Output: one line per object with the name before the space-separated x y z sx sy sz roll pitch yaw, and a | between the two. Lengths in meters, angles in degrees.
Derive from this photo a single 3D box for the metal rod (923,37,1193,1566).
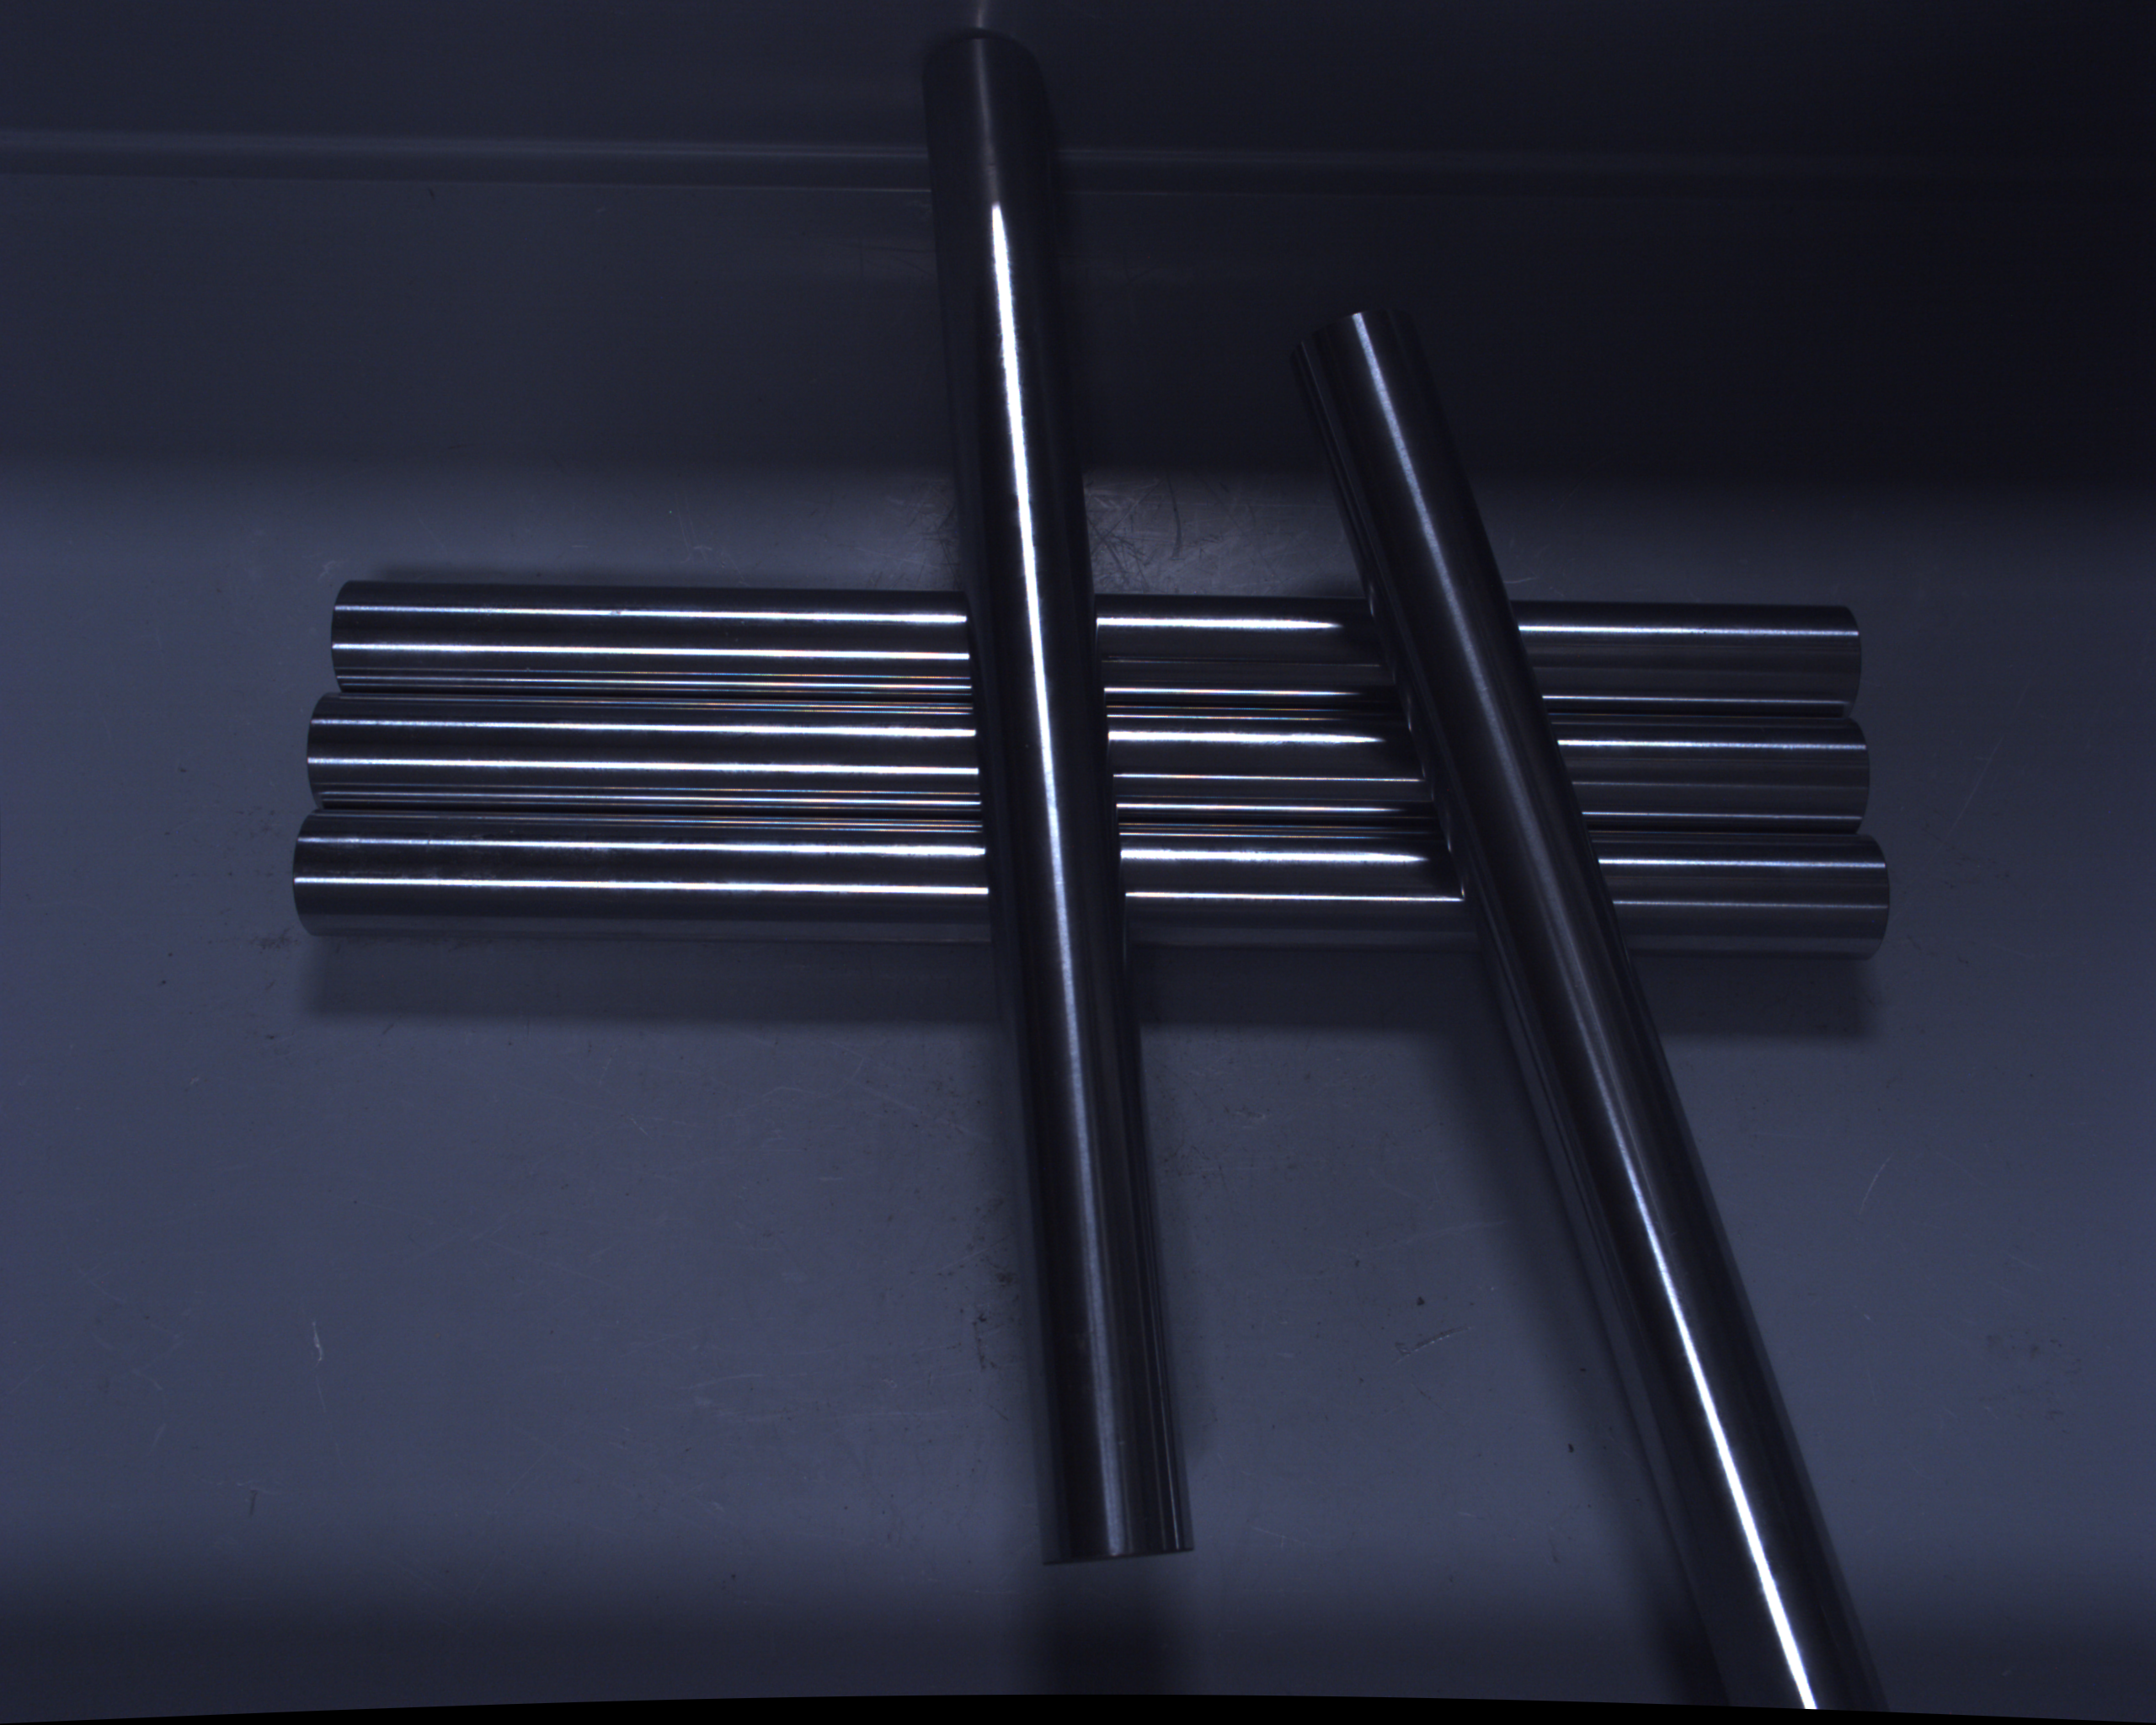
metal rod | -0.007 -0.026 0.391 0.025 0.025 0.299 -5 70 -2

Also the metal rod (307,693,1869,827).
metal rod | 0.002 -0.019 0.415 0.302 0.025 0.025 1 70 0

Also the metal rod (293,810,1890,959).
metal rod | 0.003 0.004 0.407 0.302 0.025 0.025 1 70 0

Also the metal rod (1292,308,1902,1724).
metal rod | 0.094 0.039 0.374 0.025 0.025 0.299 -15 78 -6

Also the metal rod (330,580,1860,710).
metal rod | 0.004 -0.042 0.424 0.302 0.025 0.025 1 70 0
